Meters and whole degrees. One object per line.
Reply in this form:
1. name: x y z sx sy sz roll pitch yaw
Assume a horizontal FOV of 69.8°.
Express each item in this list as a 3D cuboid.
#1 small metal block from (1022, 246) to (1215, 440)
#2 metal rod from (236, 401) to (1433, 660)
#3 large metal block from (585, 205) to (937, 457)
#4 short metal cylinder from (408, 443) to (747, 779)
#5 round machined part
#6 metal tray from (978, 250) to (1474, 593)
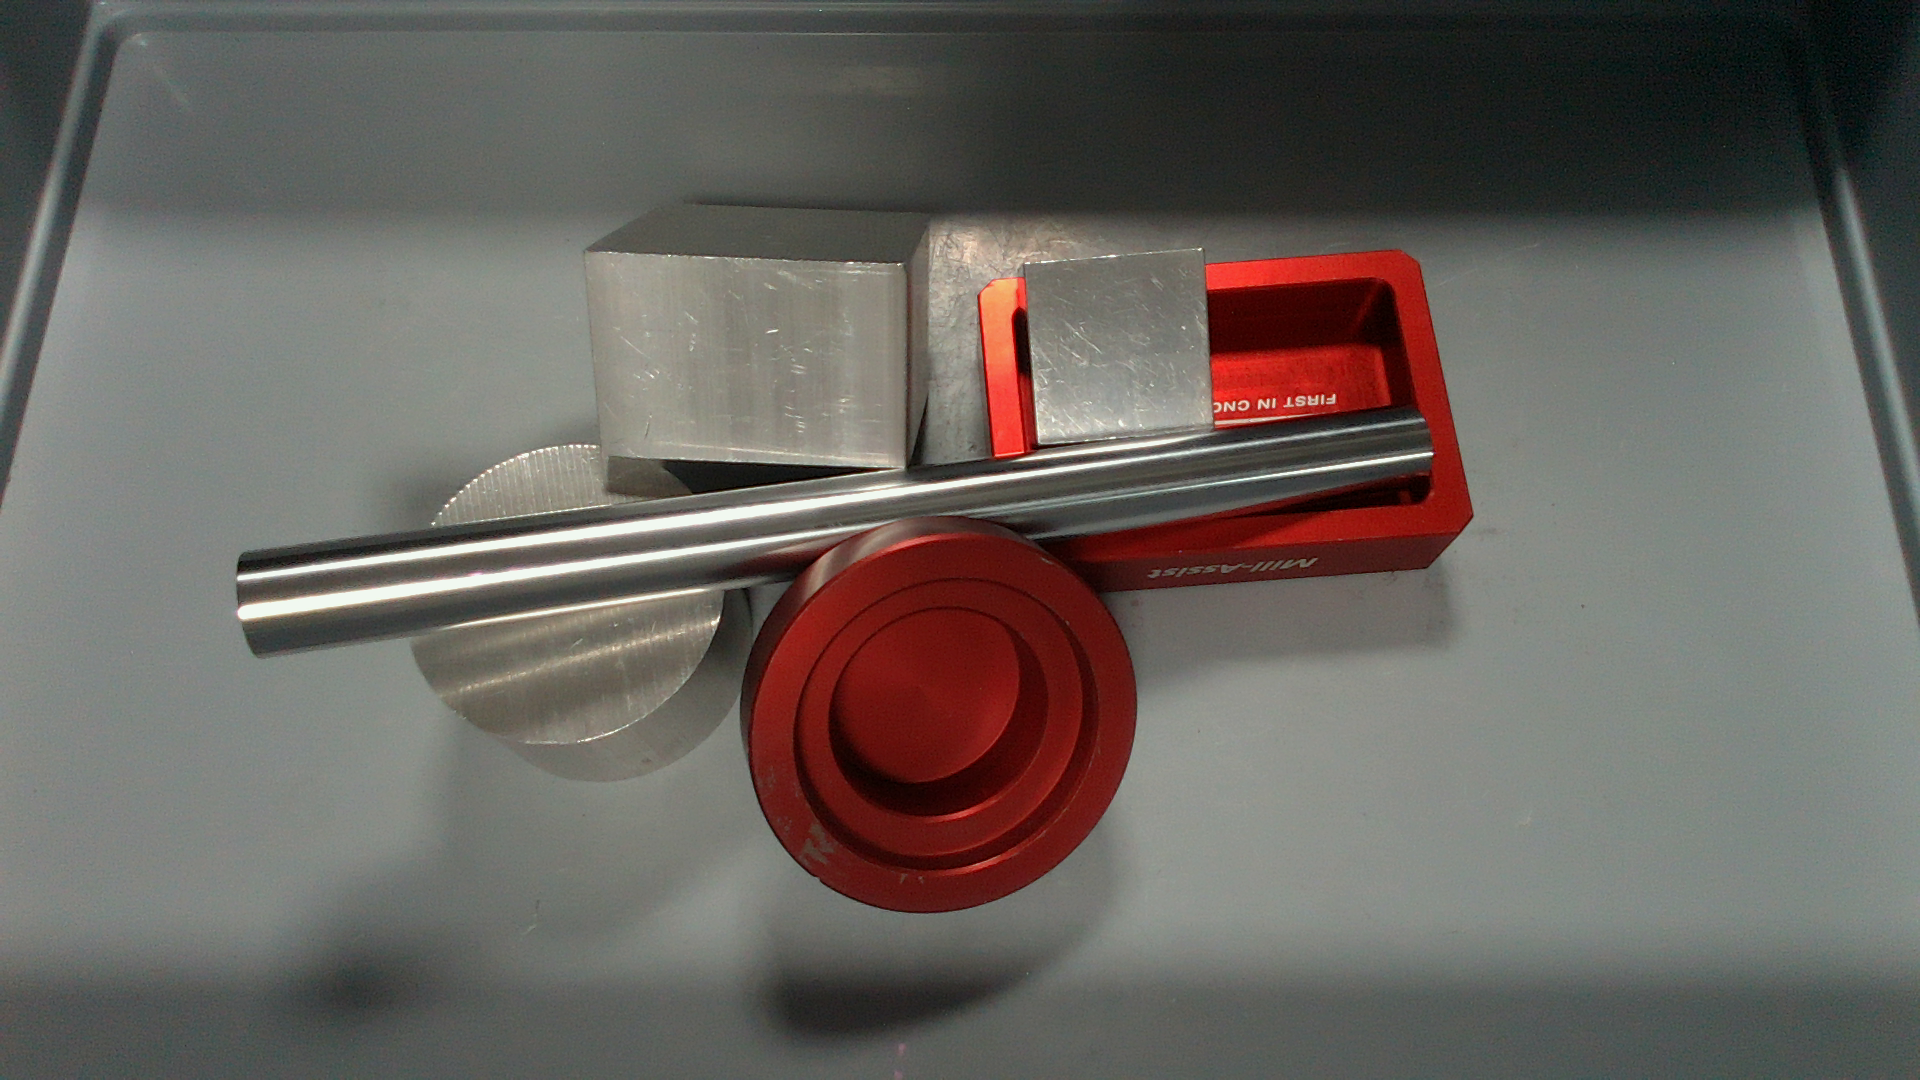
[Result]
1. small metal block: 0.044 -0.055 0.391 0.050 0.025 0.050 -5 96 -1
2. metal rod: -0.017 -0.006 0.352 0.301 0.025 0.025 -8 70 -15
3. large metal block: -0.049 -0.061 0.378 0.080 0.080 0.050 2 112 2
4. short metal cylinder: -0.100 0.021 0.371 0.080 0.050 0.080 0 70 0
5. round machined part: -0.008 0.041 0.352 0.098 0.042 0.098 -3 104 -14
6. metal tray: 0.073 -0.034 0.403 0.130 0.030 0.090 -4 70 -2
